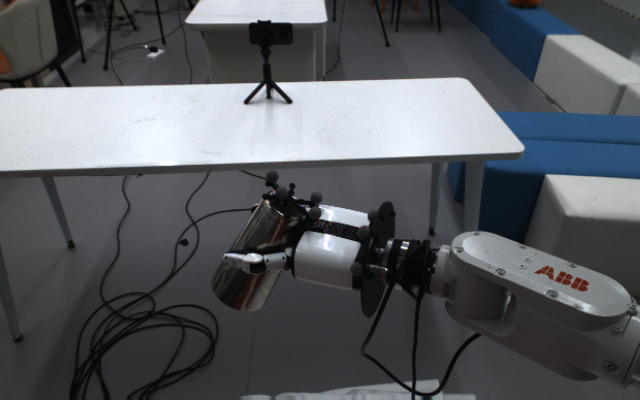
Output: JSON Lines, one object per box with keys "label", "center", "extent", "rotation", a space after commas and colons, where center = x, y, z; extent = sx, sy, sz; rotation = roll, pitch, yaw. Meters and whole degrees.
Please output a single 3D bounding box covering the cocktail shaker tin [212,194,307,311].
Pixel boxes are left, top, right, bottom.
{"label": "cocktail shaker tin", "center": [-0.084, 0.068, 0.708], "extent": [0.093, 0.170, 0.093], "rotation": [25, 29, -15]}
